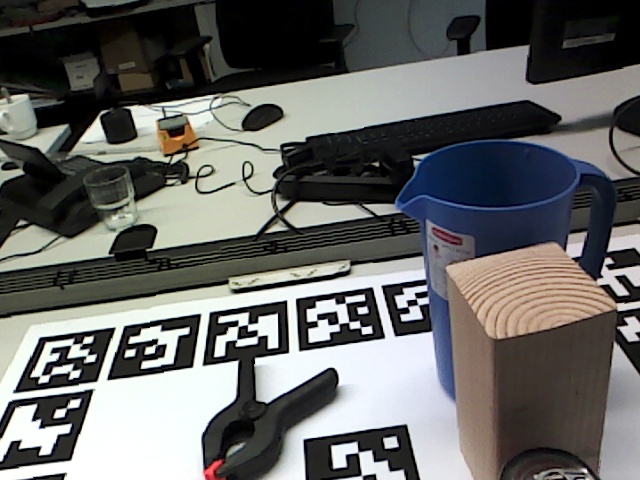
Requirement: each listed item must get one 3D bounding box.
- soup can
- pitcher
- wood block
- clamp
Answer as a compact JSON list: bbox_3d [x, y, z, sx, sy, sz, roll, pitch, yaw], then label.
[{"bbox_3d":[0.159,0.206,0.434,0.068,0.101,0.068,-8,33,5],"label":"soup can"},{"bbox_3d":[0.176,0.035,0.581,0.189,0.241,0.134,-12,28,3],"label":"pitcher"},{"bbox_3d":[0.162,0.114,0.484,0.090,0.205,0.091,-8,30,-3],"label":"wood block"},{"bbox_3d":[-0.058,0.180,0.624,0.122,0.036,0.165,13,38,22],"label":"clamp"}]
